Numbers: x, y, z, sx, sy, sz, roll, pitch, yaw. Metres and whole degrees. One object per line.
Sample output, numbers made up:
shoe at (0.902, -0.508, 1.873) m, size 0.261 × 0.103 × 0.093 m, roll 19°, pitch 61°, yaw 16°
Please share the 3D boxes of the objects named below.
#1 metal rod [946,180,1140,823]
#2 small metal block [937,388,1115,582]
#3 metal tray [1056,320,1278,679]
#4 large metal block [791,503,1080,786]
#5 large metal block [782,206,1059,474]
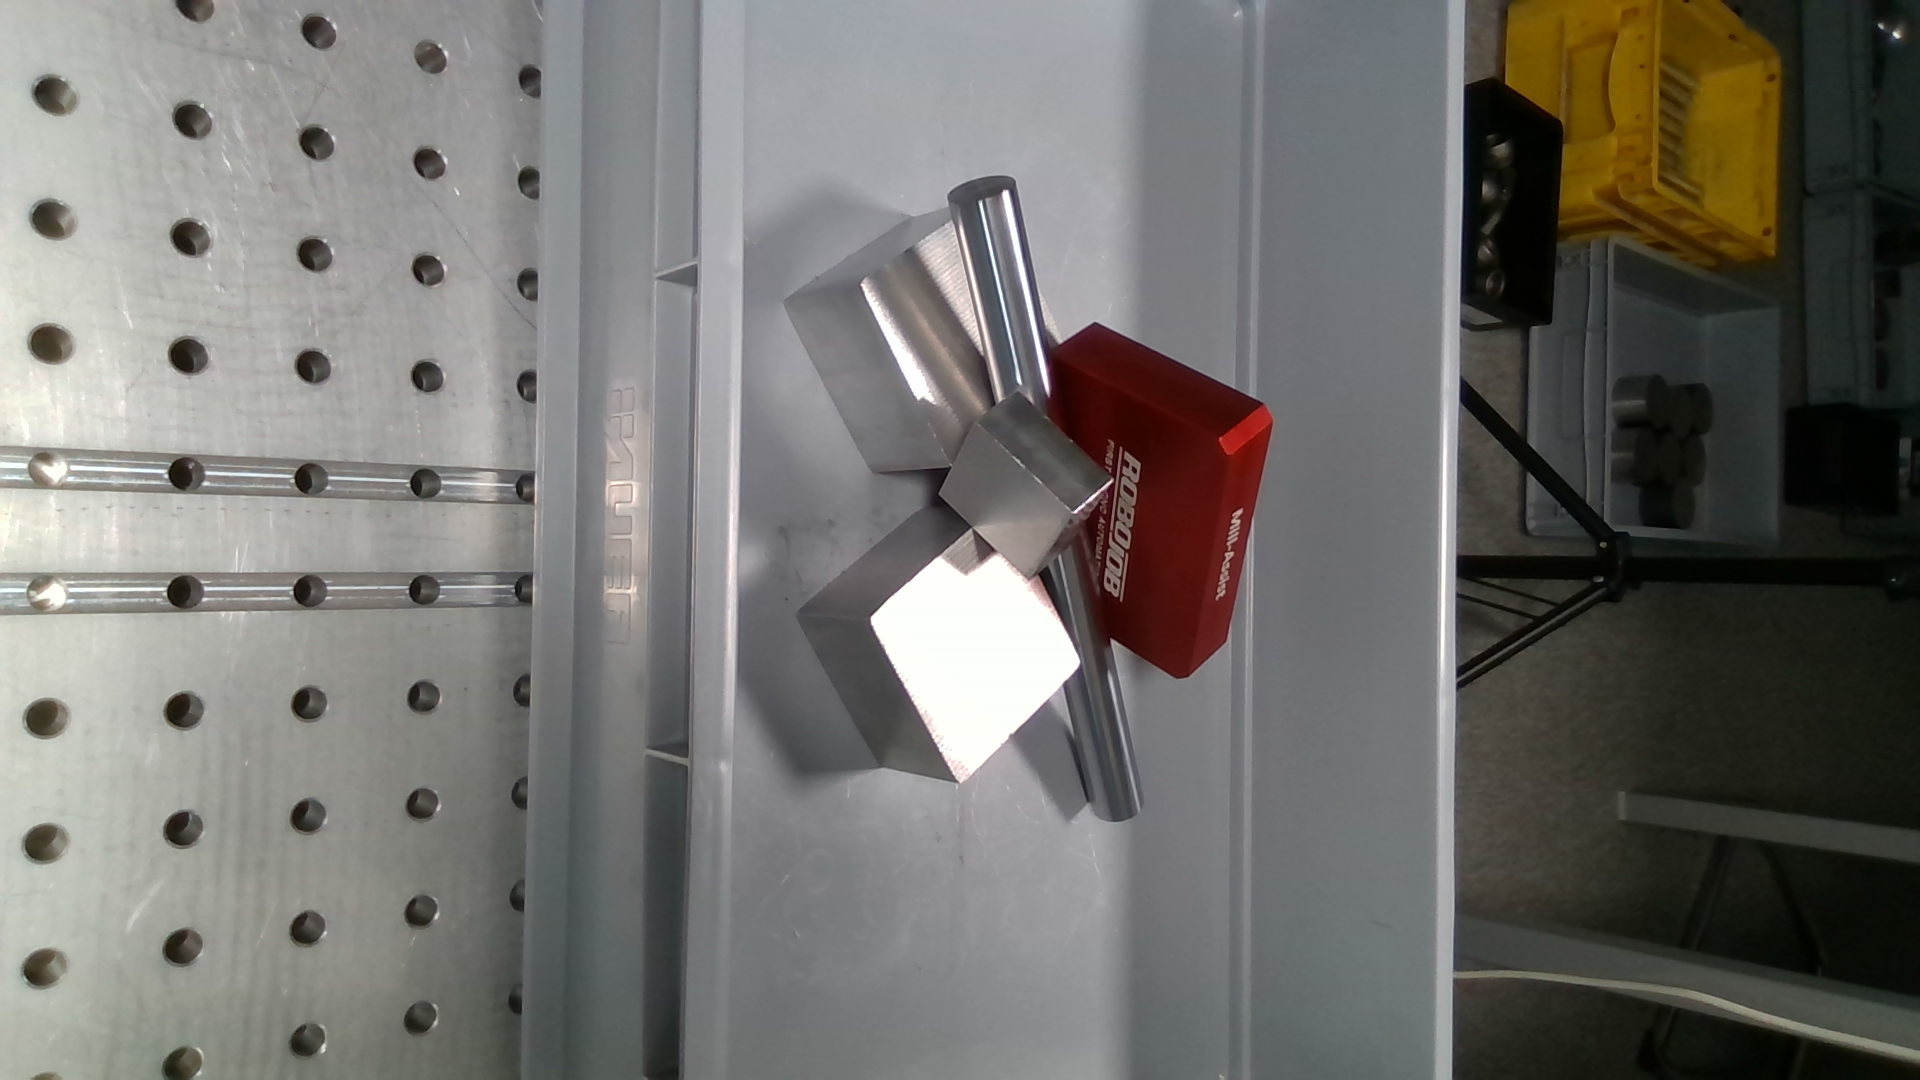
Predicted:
metal rod at (0.040, 0.000, 0.567) m, size 0.025 × 0.025 × 0.301 m, roll -39°, pitch 129°, yaw -33°
small metal block at (0.024, -0.020, 0.522) m, size 0.050 × 0.050 × 0.025 m, roll 44°, pitch 55°, yaw 11°
metal tray at (0.074, -0.014, 0.567) m, size 0.030 × 0.090 × 0.130 m, roll -36°, pitch 144°, yaw -33°
large metal block at (-0.008, 0.040, 0.559) m, size 0.080 × 0.050 × 0.080 m, roll -41°, pitch 115°, yaw -32°
large metal block at (-0.011, -0.083, 0.553) m, size 0.080 × 0.050 × 0.080 m, roll -41°, pitch 115°, yaw -32°
